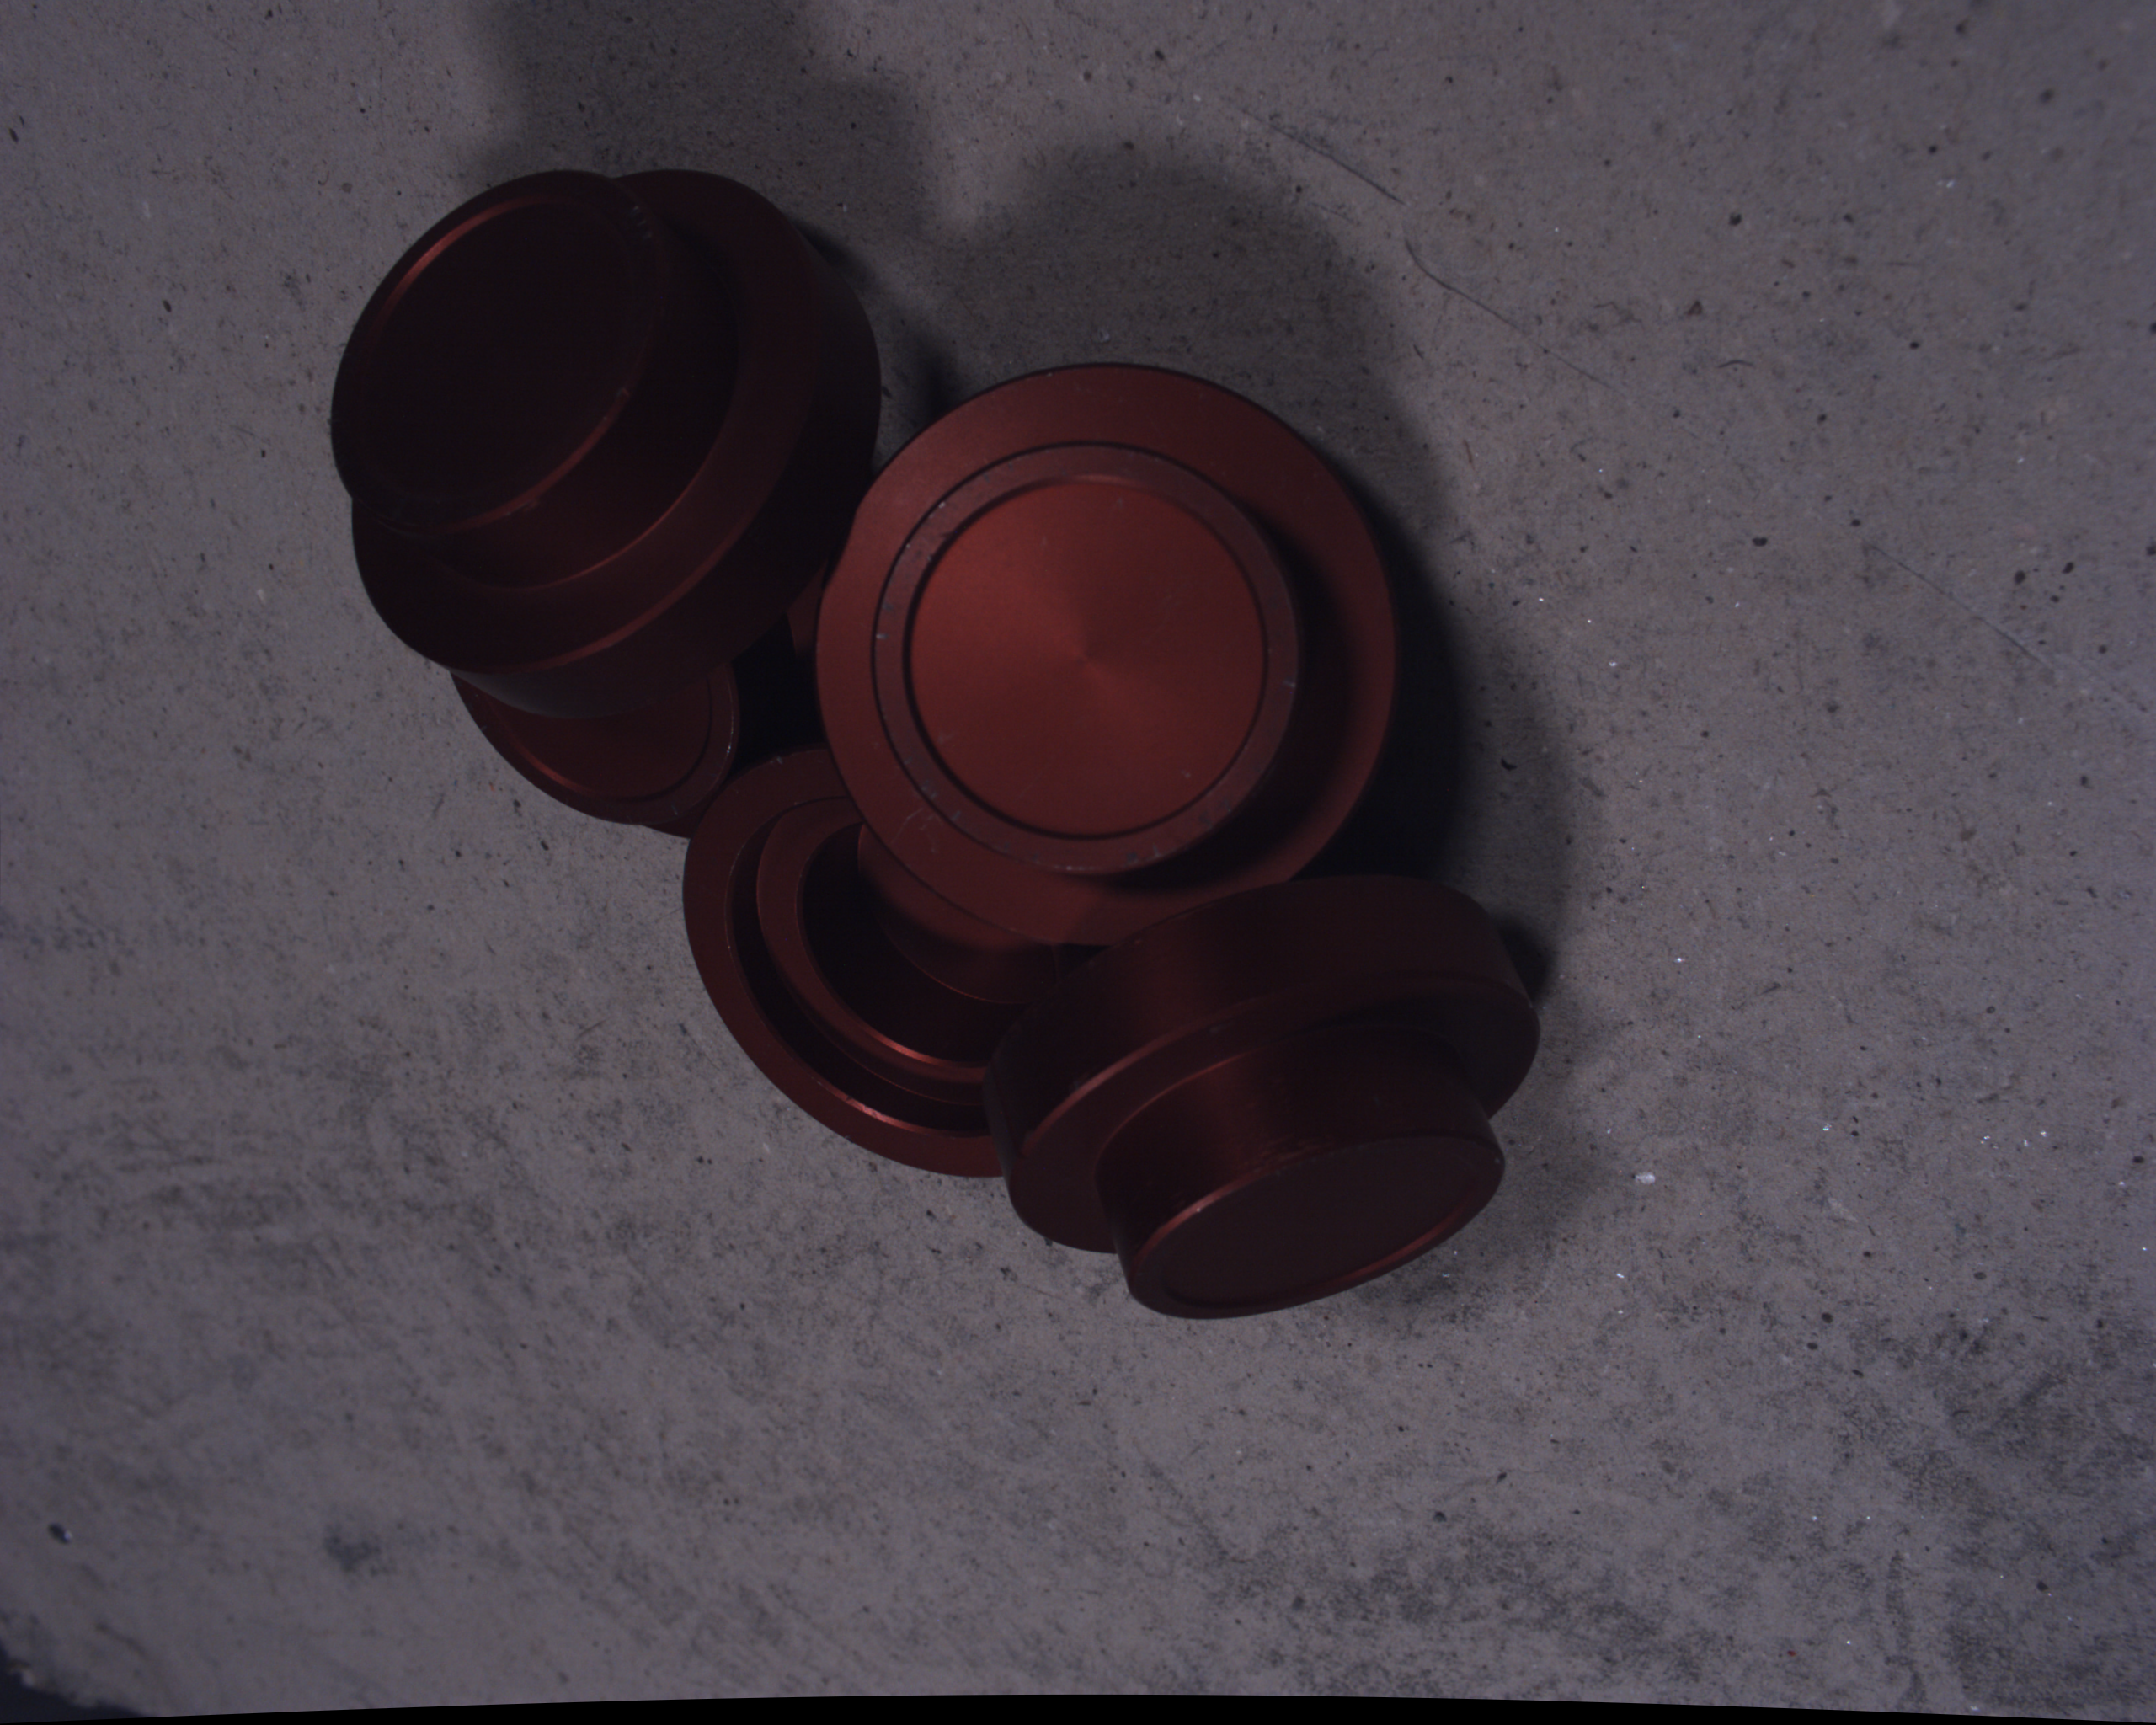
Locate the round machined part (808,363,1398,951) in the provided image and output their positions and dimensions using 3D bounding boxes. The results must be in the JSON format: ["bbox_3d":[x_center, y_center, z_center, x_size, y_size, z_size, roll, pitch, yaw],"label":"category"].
[{"bbox_3d":[0.003,-0.034,0.345,0.099,0.042,0.097,1,95,7],"label":"round machined part"}]

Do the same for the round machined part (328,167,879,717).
[{"bbox_3d":[-0.087,-0.078,0.356,0.098,0.098,0.042,1,160,27],"label":"round machined part"}]

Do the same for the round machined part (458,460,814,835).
[{"bbox_3d":[-0.086,-0.047,0.413,0.098,0.042,0.097,13,124,20],"label":"round machined part"}]

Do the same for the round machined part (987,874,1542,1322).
[{"bbox_3d":[0.037,0.047,0.370,0.097,0.099,0.042,-50,48,39],"label":"round machined part"}]

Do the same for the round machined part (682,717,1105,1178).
[{"bbox_3d":[-0.026,0.011,0.416,0.098,0.042,0.097,13,124,20],"label":"round machined part"}]
